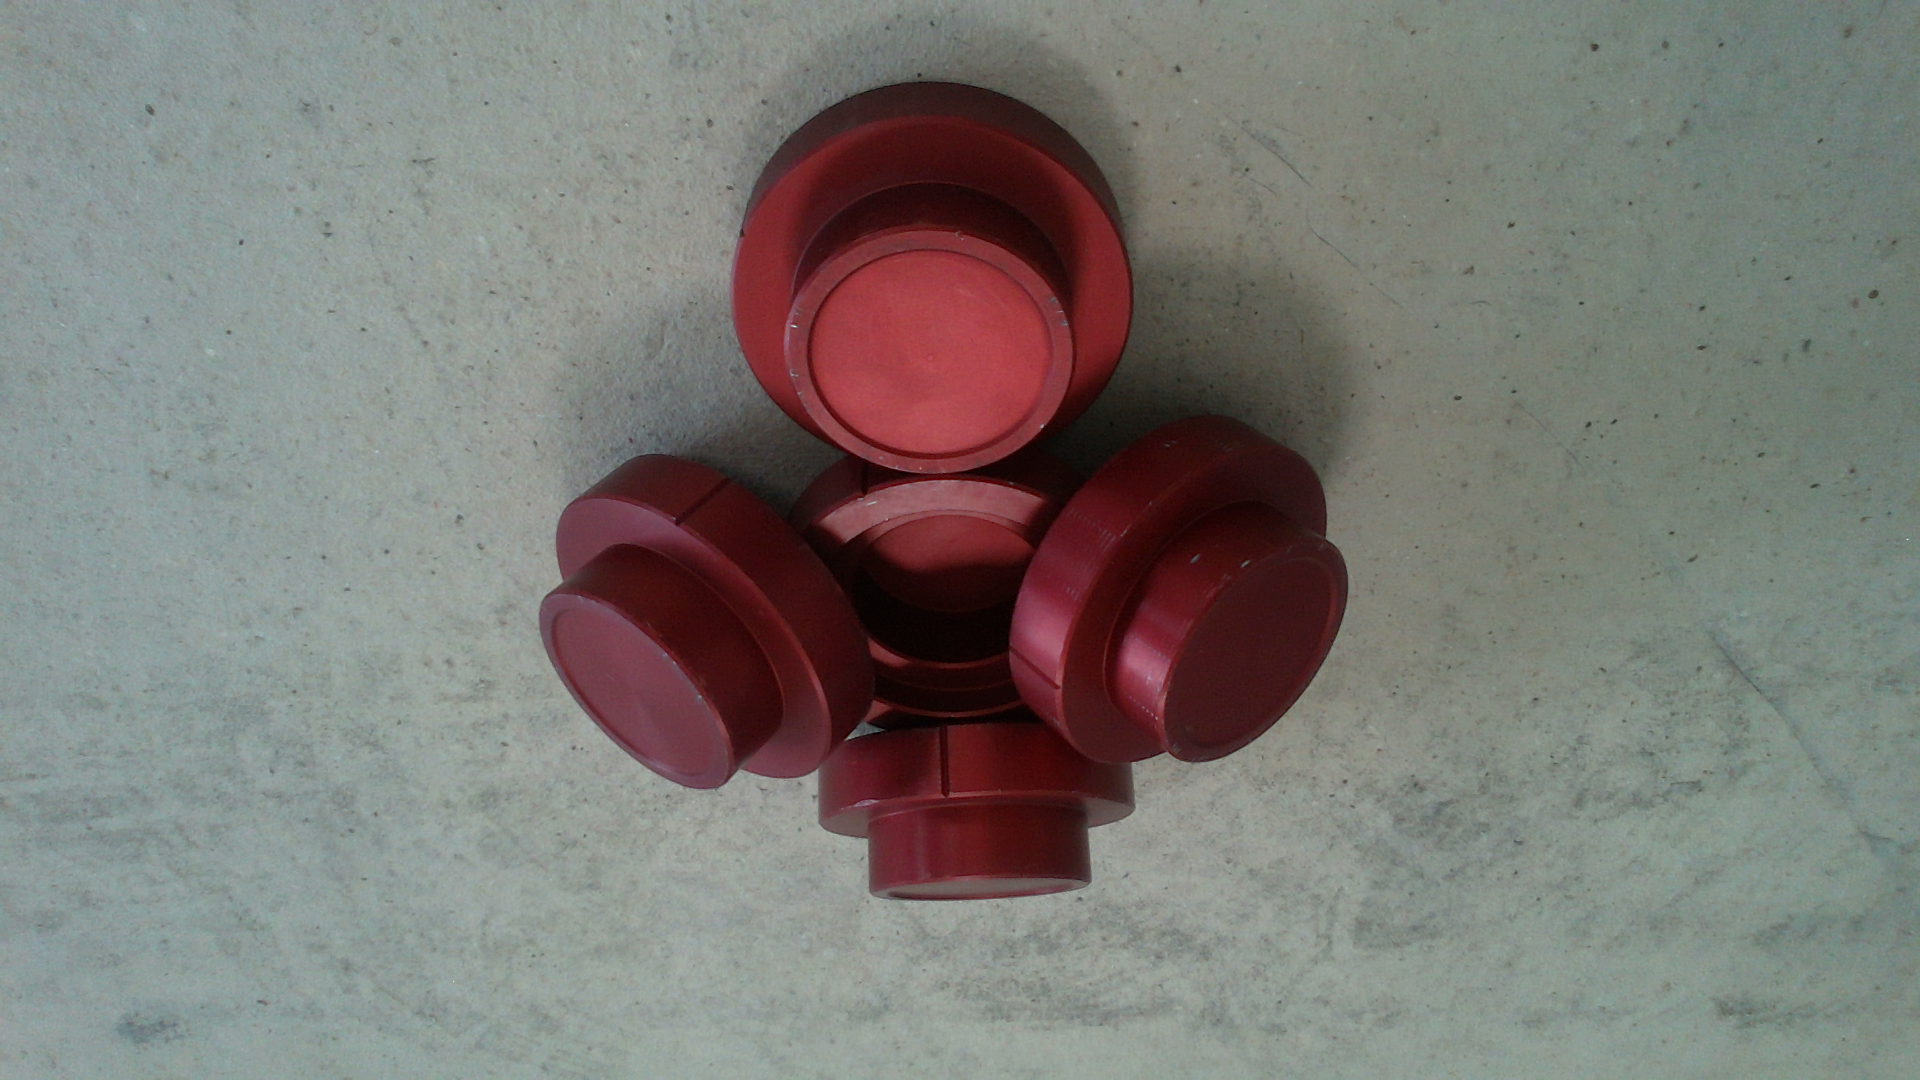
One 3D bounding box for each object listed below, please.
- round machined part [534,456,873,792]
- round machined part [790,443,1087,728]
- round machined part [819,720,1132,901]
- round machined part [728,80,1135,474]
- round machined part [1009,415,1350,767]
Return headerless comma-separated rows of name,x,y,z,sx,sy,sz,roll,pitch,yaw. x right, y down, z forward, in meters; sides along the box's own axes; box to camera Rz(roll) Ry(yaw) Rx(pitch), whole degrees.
round machined part,-0.075,0.029,0.372,0.098,0.042,0.098,25,140,23
round machined part,-0.002,0.008,0.386,0.098,0.042,0.098,1,129,2
round machined part,0.005,0.087,0.425,0.098,0.042,0.098,-2,160,-1
round machined part,-0.007,-0.055,0.332,0.098,0.042,0.098,0,129,0
round machined part,0.064,0.020,0.363,0.098,0.042,0.098,-23,132,-28
